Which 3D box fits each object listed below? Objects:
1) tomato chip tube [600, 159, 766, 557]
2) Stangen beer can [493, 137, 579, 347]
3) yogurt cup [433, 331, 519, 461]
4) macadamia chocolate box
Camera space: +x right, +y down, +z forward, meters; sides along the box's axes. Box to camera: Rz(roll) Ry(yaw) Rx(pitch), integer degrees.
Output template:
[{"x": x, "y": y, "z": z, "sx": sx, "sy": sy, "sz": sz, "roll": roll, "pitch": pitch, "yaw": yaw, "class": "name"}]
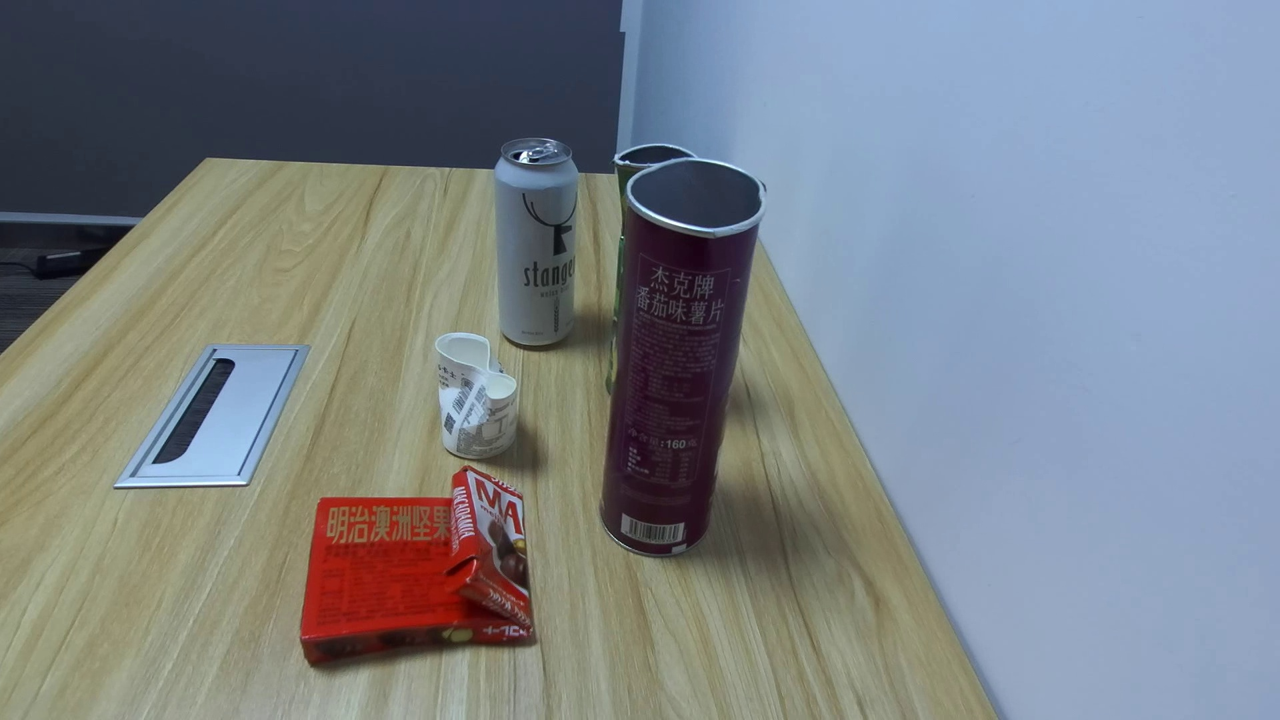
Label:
[{"x": 0.020, "y": 0.011, "z": 0.409, "sx": 0.080, "sy": 0.234, "sz": 0.076, "roll": -25, "pitch": 47, "yaw": -34, "class": "tomato chip tube"}, {"x": -0.085, "y": -0.092, "z": 0.594, "sx": 0.067, "sy": 0.171, "sz": 0.067, "roll": 5, "pitch": 32, "yaw": -3, "class": "Stangen beer can"}, {"x": -0.117, "y": 0.028, "z": 0.507, "sx": 0.075, "sy": 0.071, "sz": 0.054, "roll": 18, "pitch": 40, "yaw": 15, "class": "yogurt cup"}, {"x": -0.131, "y": 0.116, "z": 0.423, "sx": 0.127, "sy": 0.056, "sz": 0.112, "roll": -5, "pitch": 23, "yaw": -12, "class": "macadamia chocolate box"}]
